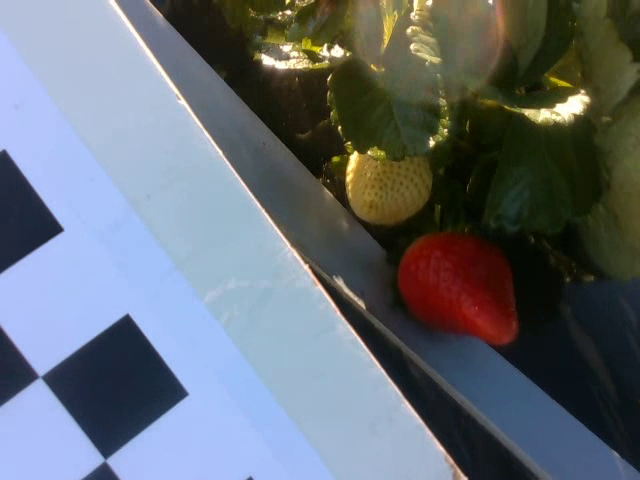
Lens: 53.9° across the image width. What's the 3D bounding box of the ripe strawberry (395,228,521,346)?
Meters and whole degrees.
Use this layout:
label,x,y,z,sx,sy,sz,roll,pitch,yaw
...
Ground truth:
label,x,y,z,sx,sy,sz,roll,pitch,yaw
ripe strawberry,0.050,0.018,0.219,0.045,0.049,0.064,-12,24,-7
